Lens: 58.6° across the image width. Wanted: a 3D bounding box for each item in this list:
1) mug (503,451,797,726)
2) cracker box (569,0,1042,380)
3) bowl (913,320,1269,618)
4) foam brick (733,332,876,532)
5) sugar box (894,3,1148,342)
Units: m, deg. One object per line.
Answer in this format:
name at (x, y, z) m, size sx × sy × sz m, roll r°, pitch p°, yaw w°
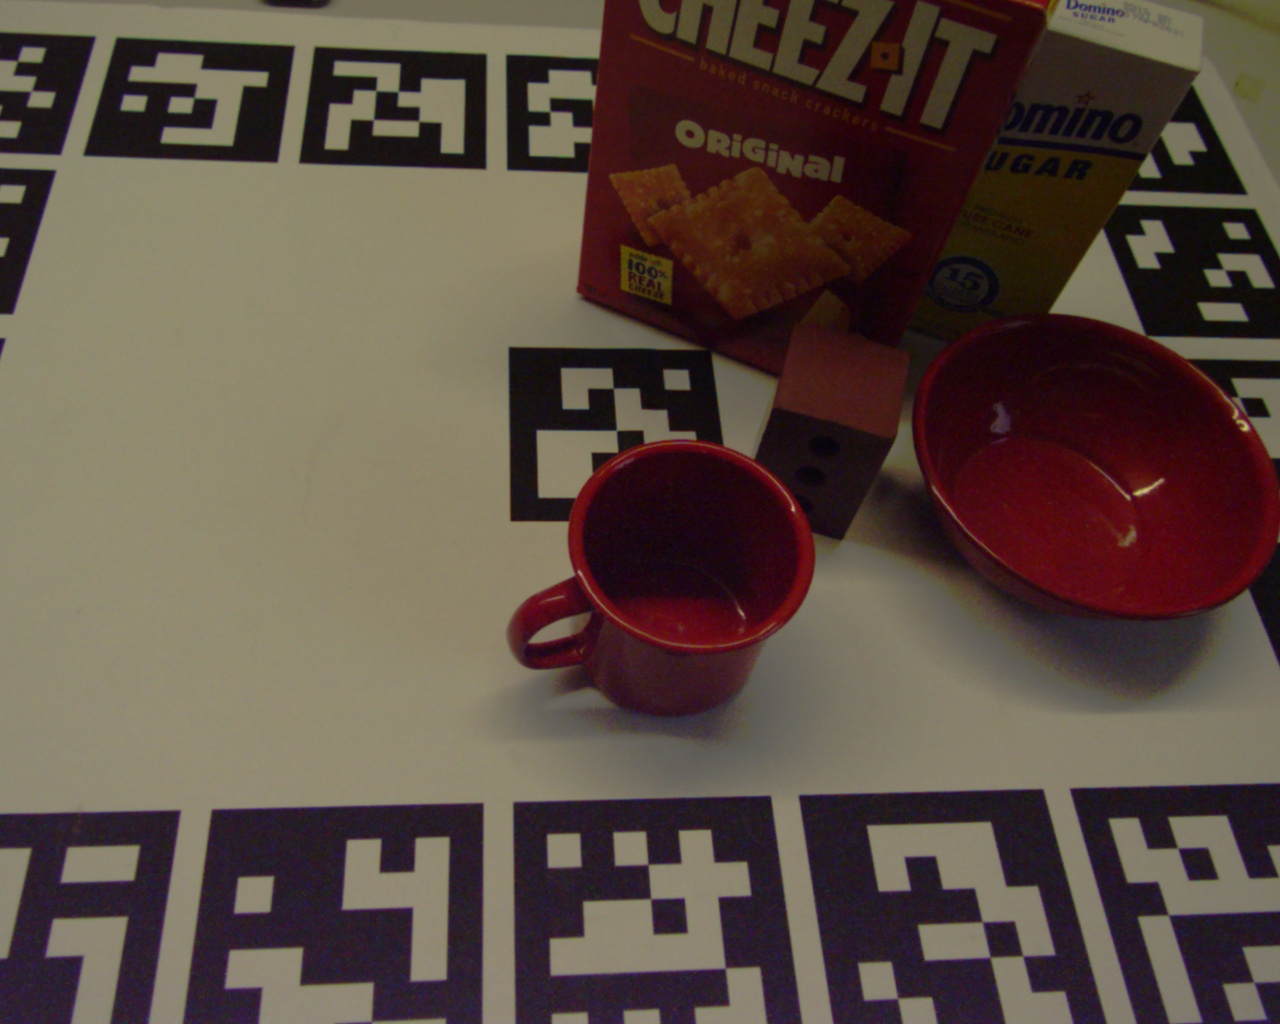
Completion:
mug at (0.001, 0.037, 0.472) m, size 0.116 × 0.081 × 0.094 m, roll -9°, pitch 51°, yaw -10°
cracker box at (0.060, -0.160, 0.533) m, size 0.165 × 0.213 × 0.072 m, roll 25°, pitch 56°, yaw 9°
bowl at (0.199, -0.012, 0.533) m, size 0.161 × 0.055 × 0.162 m, roll 2°, pitch 58°, yaw -5°
foam brick at (0.075, -0.036, 0.540) m, size 0.053 × 0.078 × 0.051 m, roll 13°, pitch 56°, yaw 2°
sugar box at (0.167, -0.162, 0.566) m, size 0.093 × 0.176 × 0.045 m, roll 18°, pitch 57°, yaw 5°
